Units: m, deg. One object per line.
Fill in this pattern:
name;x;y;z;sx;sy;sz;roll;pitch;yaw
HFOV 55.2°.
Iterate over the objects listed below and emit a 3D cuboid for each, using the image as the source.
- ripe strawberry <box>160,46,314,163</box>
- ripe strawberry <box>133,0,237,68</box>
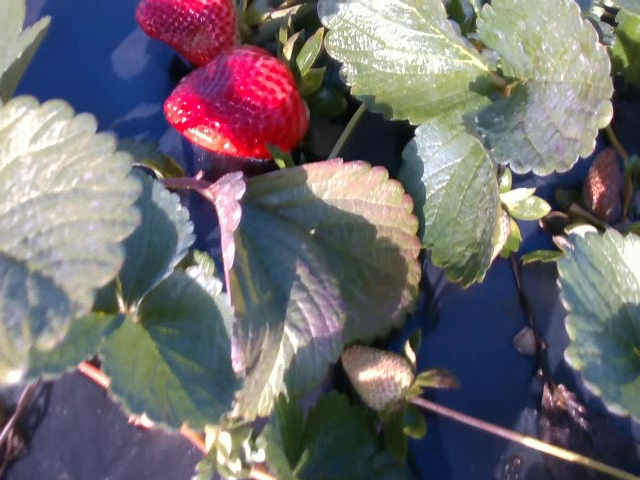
ripe strawberry;-0.034;-0.050;0.229;0.057;0.046;0.052;-21;36;-31
ripe strawberry;-0.057;-0.093;0.256;0.051;0.037;0.043;-27;32;-34
